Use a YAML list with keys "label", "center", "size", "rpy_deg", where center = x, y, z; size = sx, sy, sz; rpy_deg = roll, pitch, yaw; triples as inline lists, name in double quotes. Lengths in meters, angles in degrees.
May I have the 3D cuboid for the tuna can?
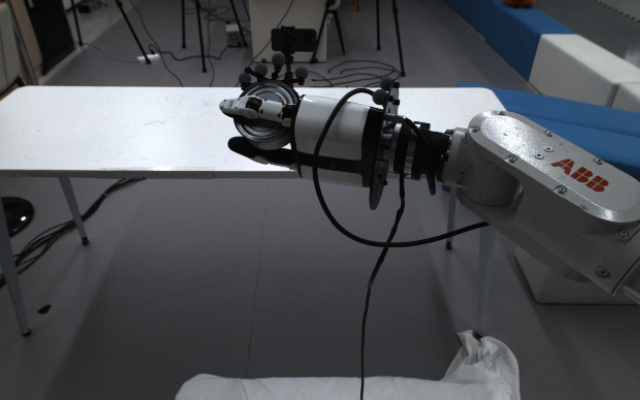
- label: "tuna can"
  center: [-0.067, -0.110, 0.625]
  size: [0.085, 0.034, 0.085]
  rpy_deg: [-5, 70, 14]
